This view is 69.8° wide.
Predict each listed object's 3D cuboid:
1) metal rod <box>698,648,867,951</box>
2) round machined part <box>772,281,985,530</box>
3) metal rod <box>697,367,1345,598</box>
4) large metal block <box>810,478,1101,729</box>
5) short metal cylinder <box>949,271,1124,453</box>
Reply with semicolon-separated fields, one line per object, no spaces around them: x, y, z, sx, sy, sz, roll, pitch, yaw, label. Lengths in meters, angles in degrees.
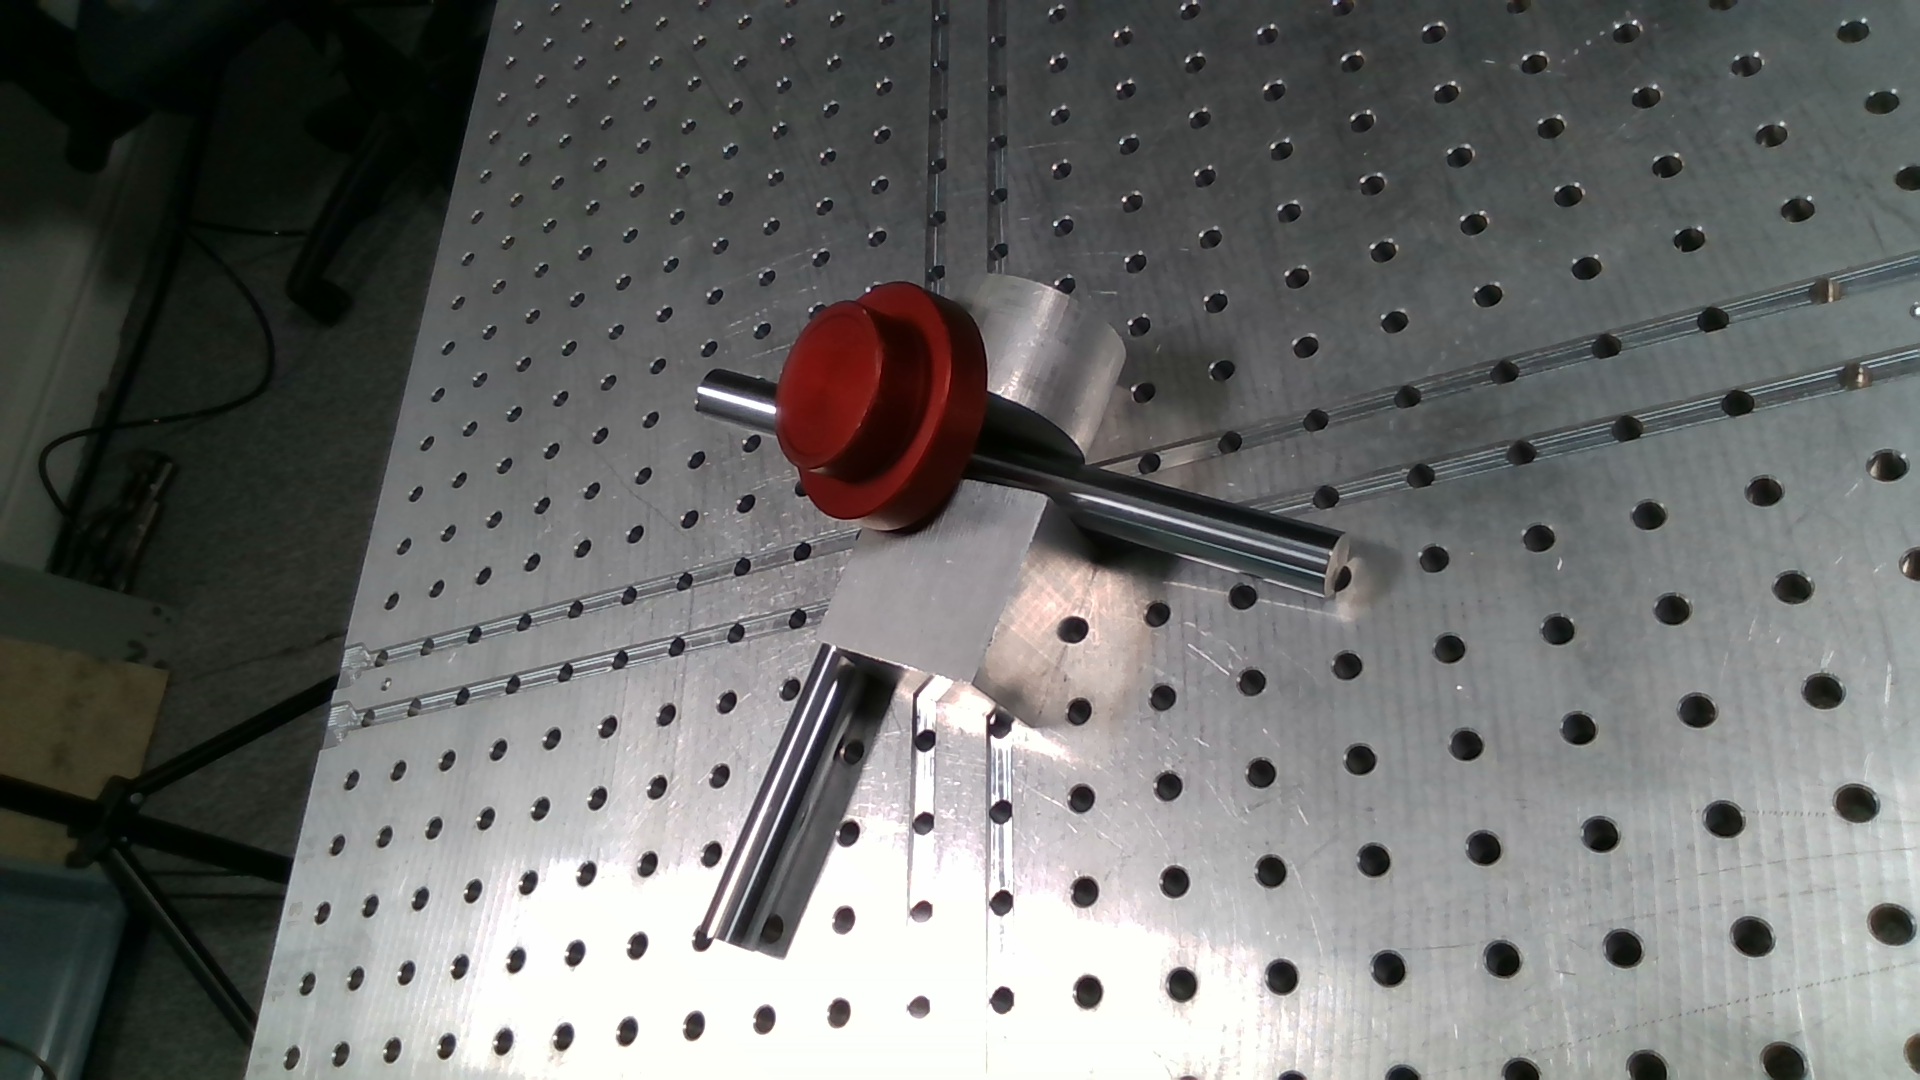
-0.040;0.028;0.597;0.025;0.025;0.299;12;72;35;metal rod
-0.038;-0.056;0.546;0.098;0.042;0.098;-19;64;45;round machined part
0.010;-0.030;0.573;0.300;0.025;0.025;17;75;29;metal rod
-0.001;0.022;0.557;0.080;0.050;0.080;13;73;36;large metal block
0.023;-0.068;0.574;0.080;0.080;0.050;12;72;35;short metal cylinder
